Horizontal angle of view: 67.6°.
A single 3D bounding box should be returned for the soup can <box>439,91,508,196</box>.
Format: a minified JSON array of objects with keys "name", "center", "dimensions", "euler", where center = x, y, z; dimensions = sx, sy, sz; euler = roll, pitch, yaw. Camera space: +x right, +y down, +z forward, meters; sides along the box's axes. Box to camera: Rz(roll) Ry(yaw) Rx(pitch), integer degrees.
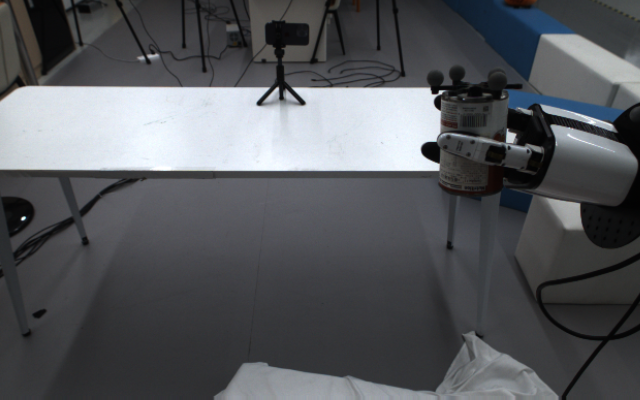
[{"name":"soup can","center":[0.163,-0.063,0.513],"dimensions":[0.067,0.101,0.067],"euler":[-4,21,2]}]
